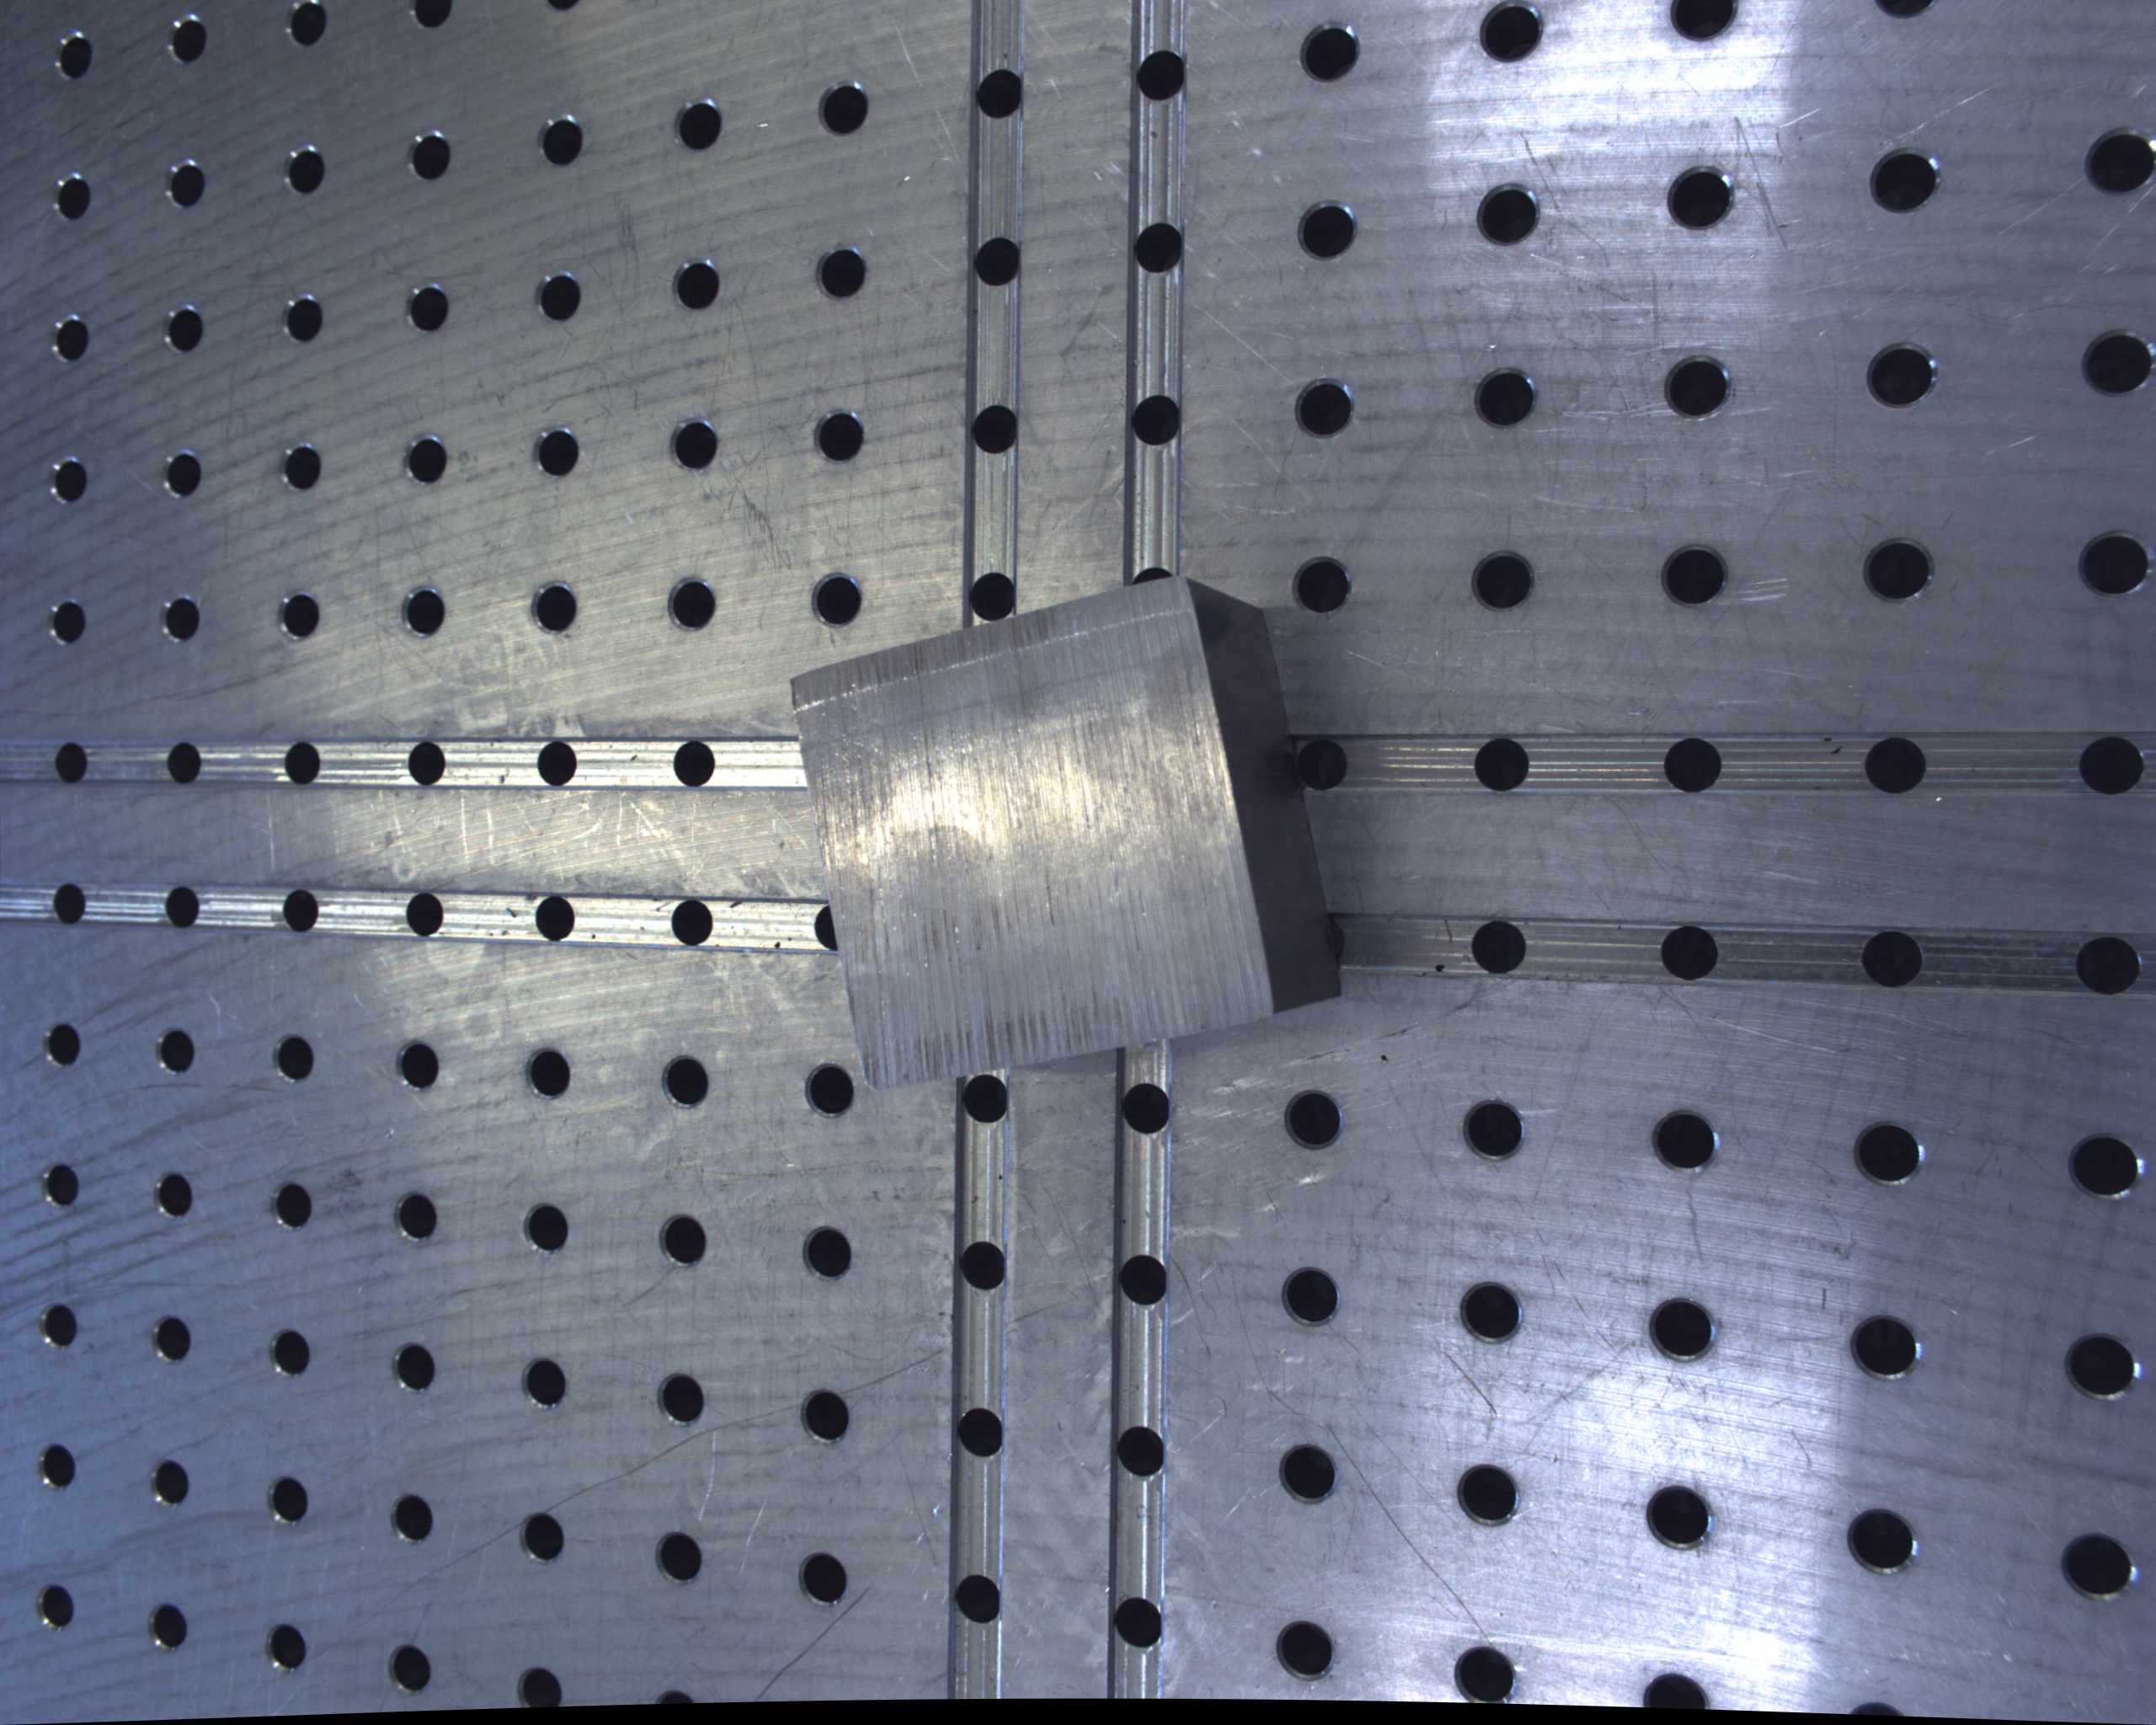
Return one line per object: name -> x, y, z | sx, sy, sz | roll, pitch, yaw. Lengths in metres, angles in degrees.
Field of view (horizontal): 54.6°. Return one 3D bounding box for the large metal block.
large metal block -> -0.002, -0.004, 0.399 | 0.080, 0.050, 0.080 | -13, 86, 19
